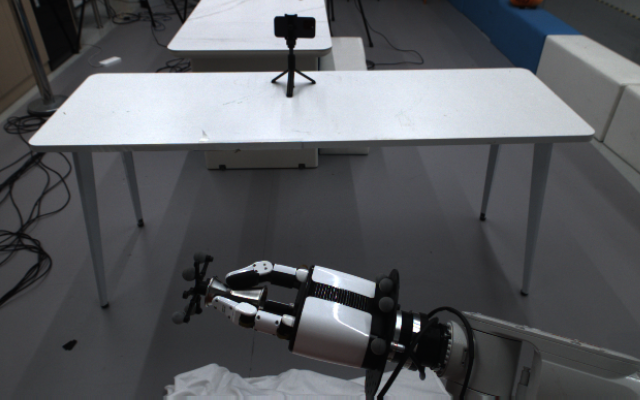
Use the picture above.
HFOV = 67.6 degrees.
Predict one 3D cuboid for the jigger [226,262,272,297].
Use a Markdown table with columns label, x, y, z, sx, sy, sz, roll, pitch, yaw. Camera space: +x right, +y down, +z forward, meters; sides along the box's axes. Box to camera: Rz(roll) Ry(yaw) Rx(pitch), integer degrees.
| label | x | y | z | sx | sy | sz | roll | pitch | yaw |
| --- | --- | --- | --- | --- | --- | --- | --- | --- | --- |
| jigger | -0.097 | 0.119 | 0.604 | 0.071 | 0.043 | 0.043 | 11 | 36 | 5 |
